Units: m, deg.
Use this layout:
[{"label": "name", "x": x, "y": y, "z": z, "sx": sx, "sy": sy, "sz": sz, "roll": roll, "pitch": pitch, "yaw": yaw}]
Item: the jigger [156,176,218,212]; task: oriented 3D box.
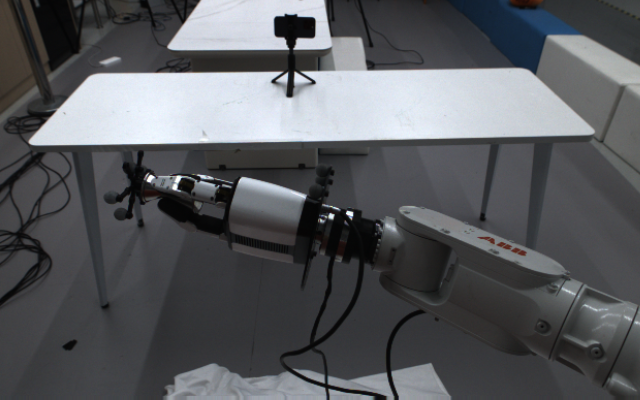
[{"label": "jigger", "x": -0.178, "y": -0.014, "z": 0.612, "sx": 0.071, "sy": 0.043, "sz": 0.043, "roll": 10, "pitch": 35, "yaw": 2}]
